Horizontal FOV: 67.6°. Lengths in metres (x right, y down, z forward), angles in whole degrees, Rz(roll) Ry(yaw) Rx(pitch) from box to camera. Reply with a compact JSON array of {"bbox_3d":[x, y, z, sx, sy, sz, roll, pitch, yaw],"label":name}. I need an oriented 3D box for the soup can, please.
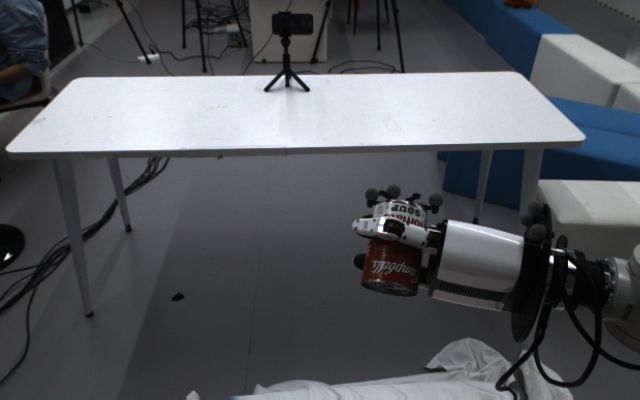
[{"bbox_3d":[0.091,0.058,0.579,0.067,0.067,0.101,9,70,10],"label":"soup can"}]
